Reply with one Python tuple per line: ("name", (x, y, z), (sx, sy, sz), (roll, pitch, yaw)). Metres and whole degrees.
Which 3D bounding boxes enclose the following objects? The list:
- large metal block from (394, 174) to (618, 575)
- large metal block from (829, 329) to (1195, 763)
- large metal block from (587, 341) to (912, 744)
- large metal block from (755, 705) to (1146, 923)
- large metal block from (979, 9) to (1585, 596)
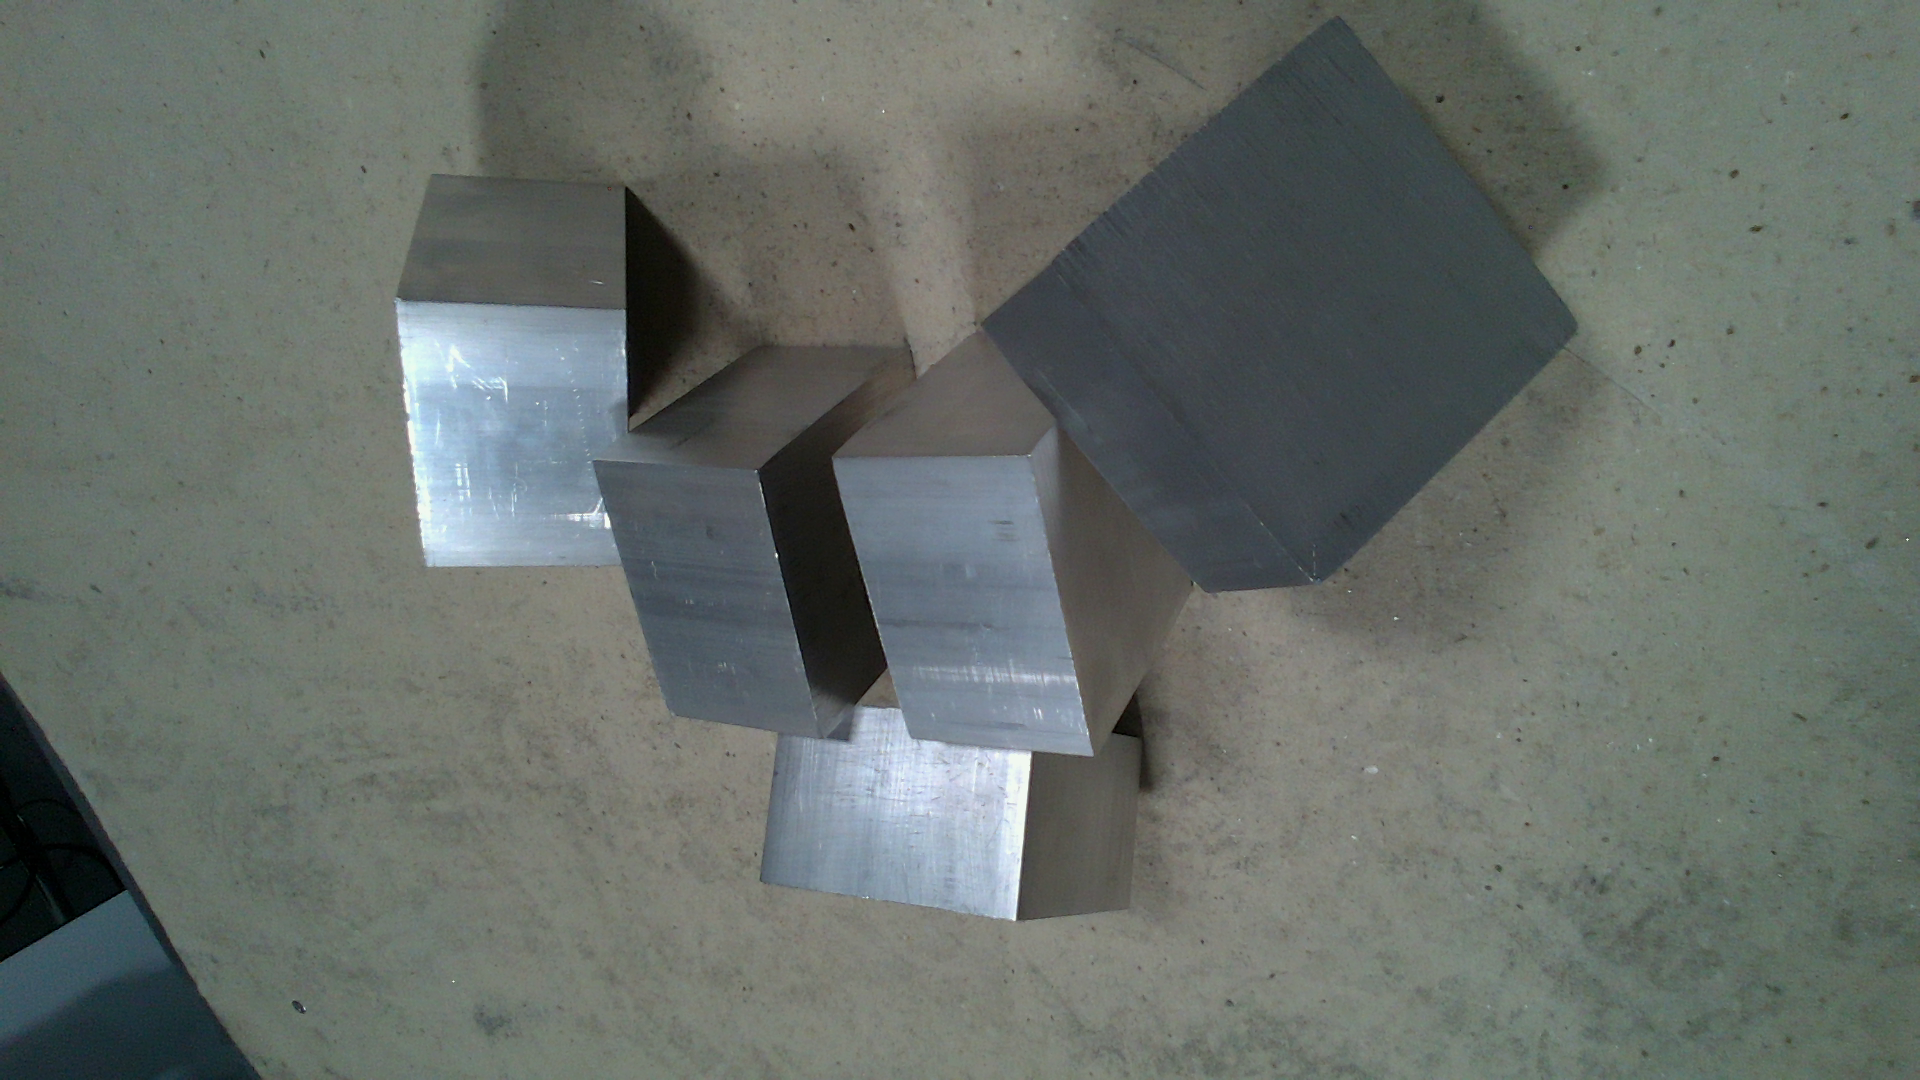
("large metal block", (-0.121, -0.047, 0.382), (0.050, 0.080, 0.080), (0, 126, -13))
("large metal block", (0.018, -0.003, 0.347), (0.050, 0.080, 0.080), (1, 119, 28))
("large metal block", (-0.048, -0.003, 0.382), (0.050, 0.080, 0.080), (5, 121, 26))
("large metal block", (0.000, 0.077, 0.397), (0.080, 0.080, 0.050), (1, 80, 28))
("large metal block", (0.065, -0.045, 0.287), (0.080, 0.080, 0.050), (50, 166, -6))
